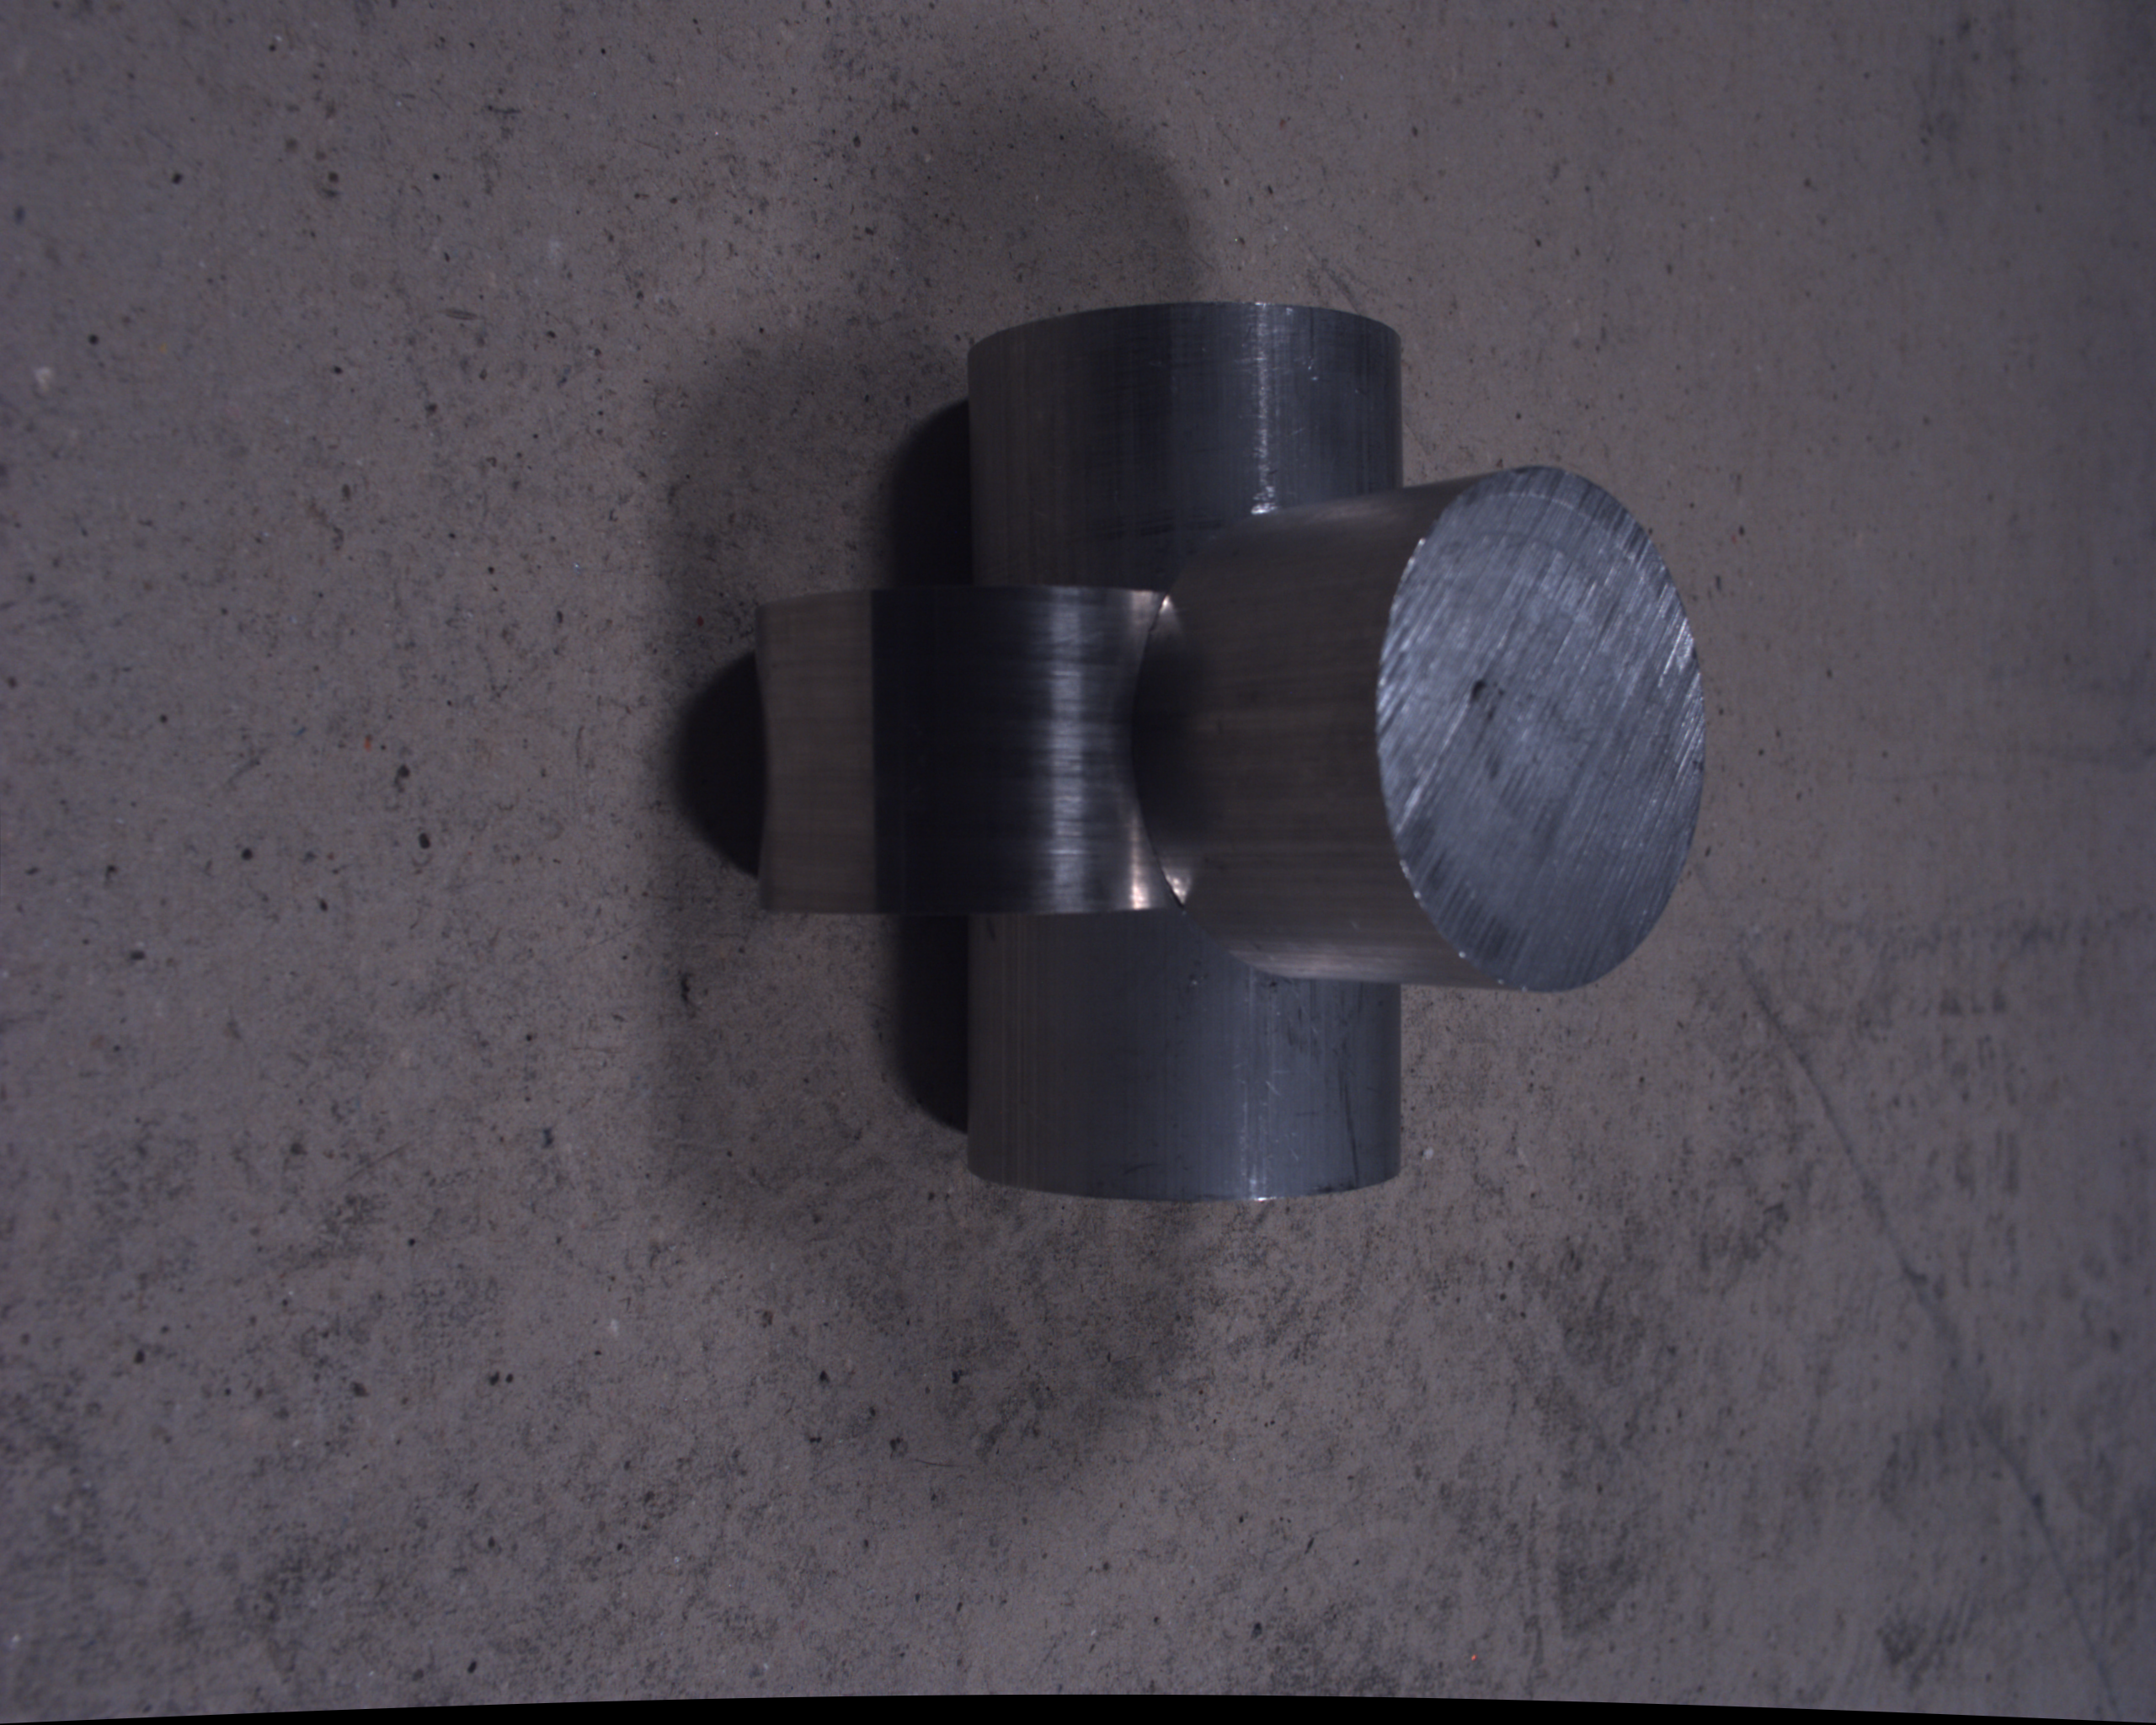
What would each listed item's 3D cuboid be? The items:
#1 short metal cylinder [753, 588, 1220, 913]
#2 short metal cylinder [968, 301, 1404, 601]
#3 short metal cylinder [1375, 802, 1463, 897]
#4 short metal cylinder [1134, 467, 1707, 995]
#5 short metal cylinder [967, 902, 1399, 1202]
[{"bbox_3d":[-0.015,-0.018,0.360,0.081,0.080,0.050,-2,91,-40],"label":"short metal cylinder"},{"bbox_3d":[0.020,-0.070,0.389,0.081,0.080,0.050,-2,92,-40],"label":"short metal cylinder"},{"bbox_3d":[0.047,-0.019,0.412,0.081,0.080,0.050,-1,91,-40],"label":"short metal cylinder"},{"bbox_3d":[0.056,-0.020,0.334,0.081,0.050,0.079,0,90,-40],"label":"short metal cylinder"},{"bbox_3d":[0.020,0.032,0.389,0.081,0.080,0.050,0,91,-40],"label":"short metal cylinder"}]
